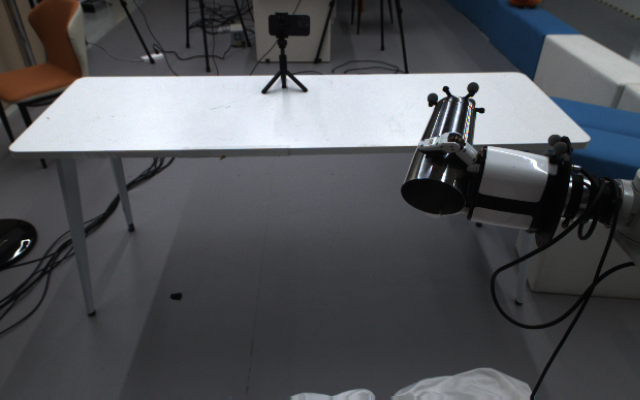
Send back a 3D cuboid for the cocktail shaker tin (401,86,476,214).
[{"bbox_3d":[0.188,-0.073,0.731,0.093,0.093,0.170,13,61,15],"label":"cocktail shaker tin"}]
